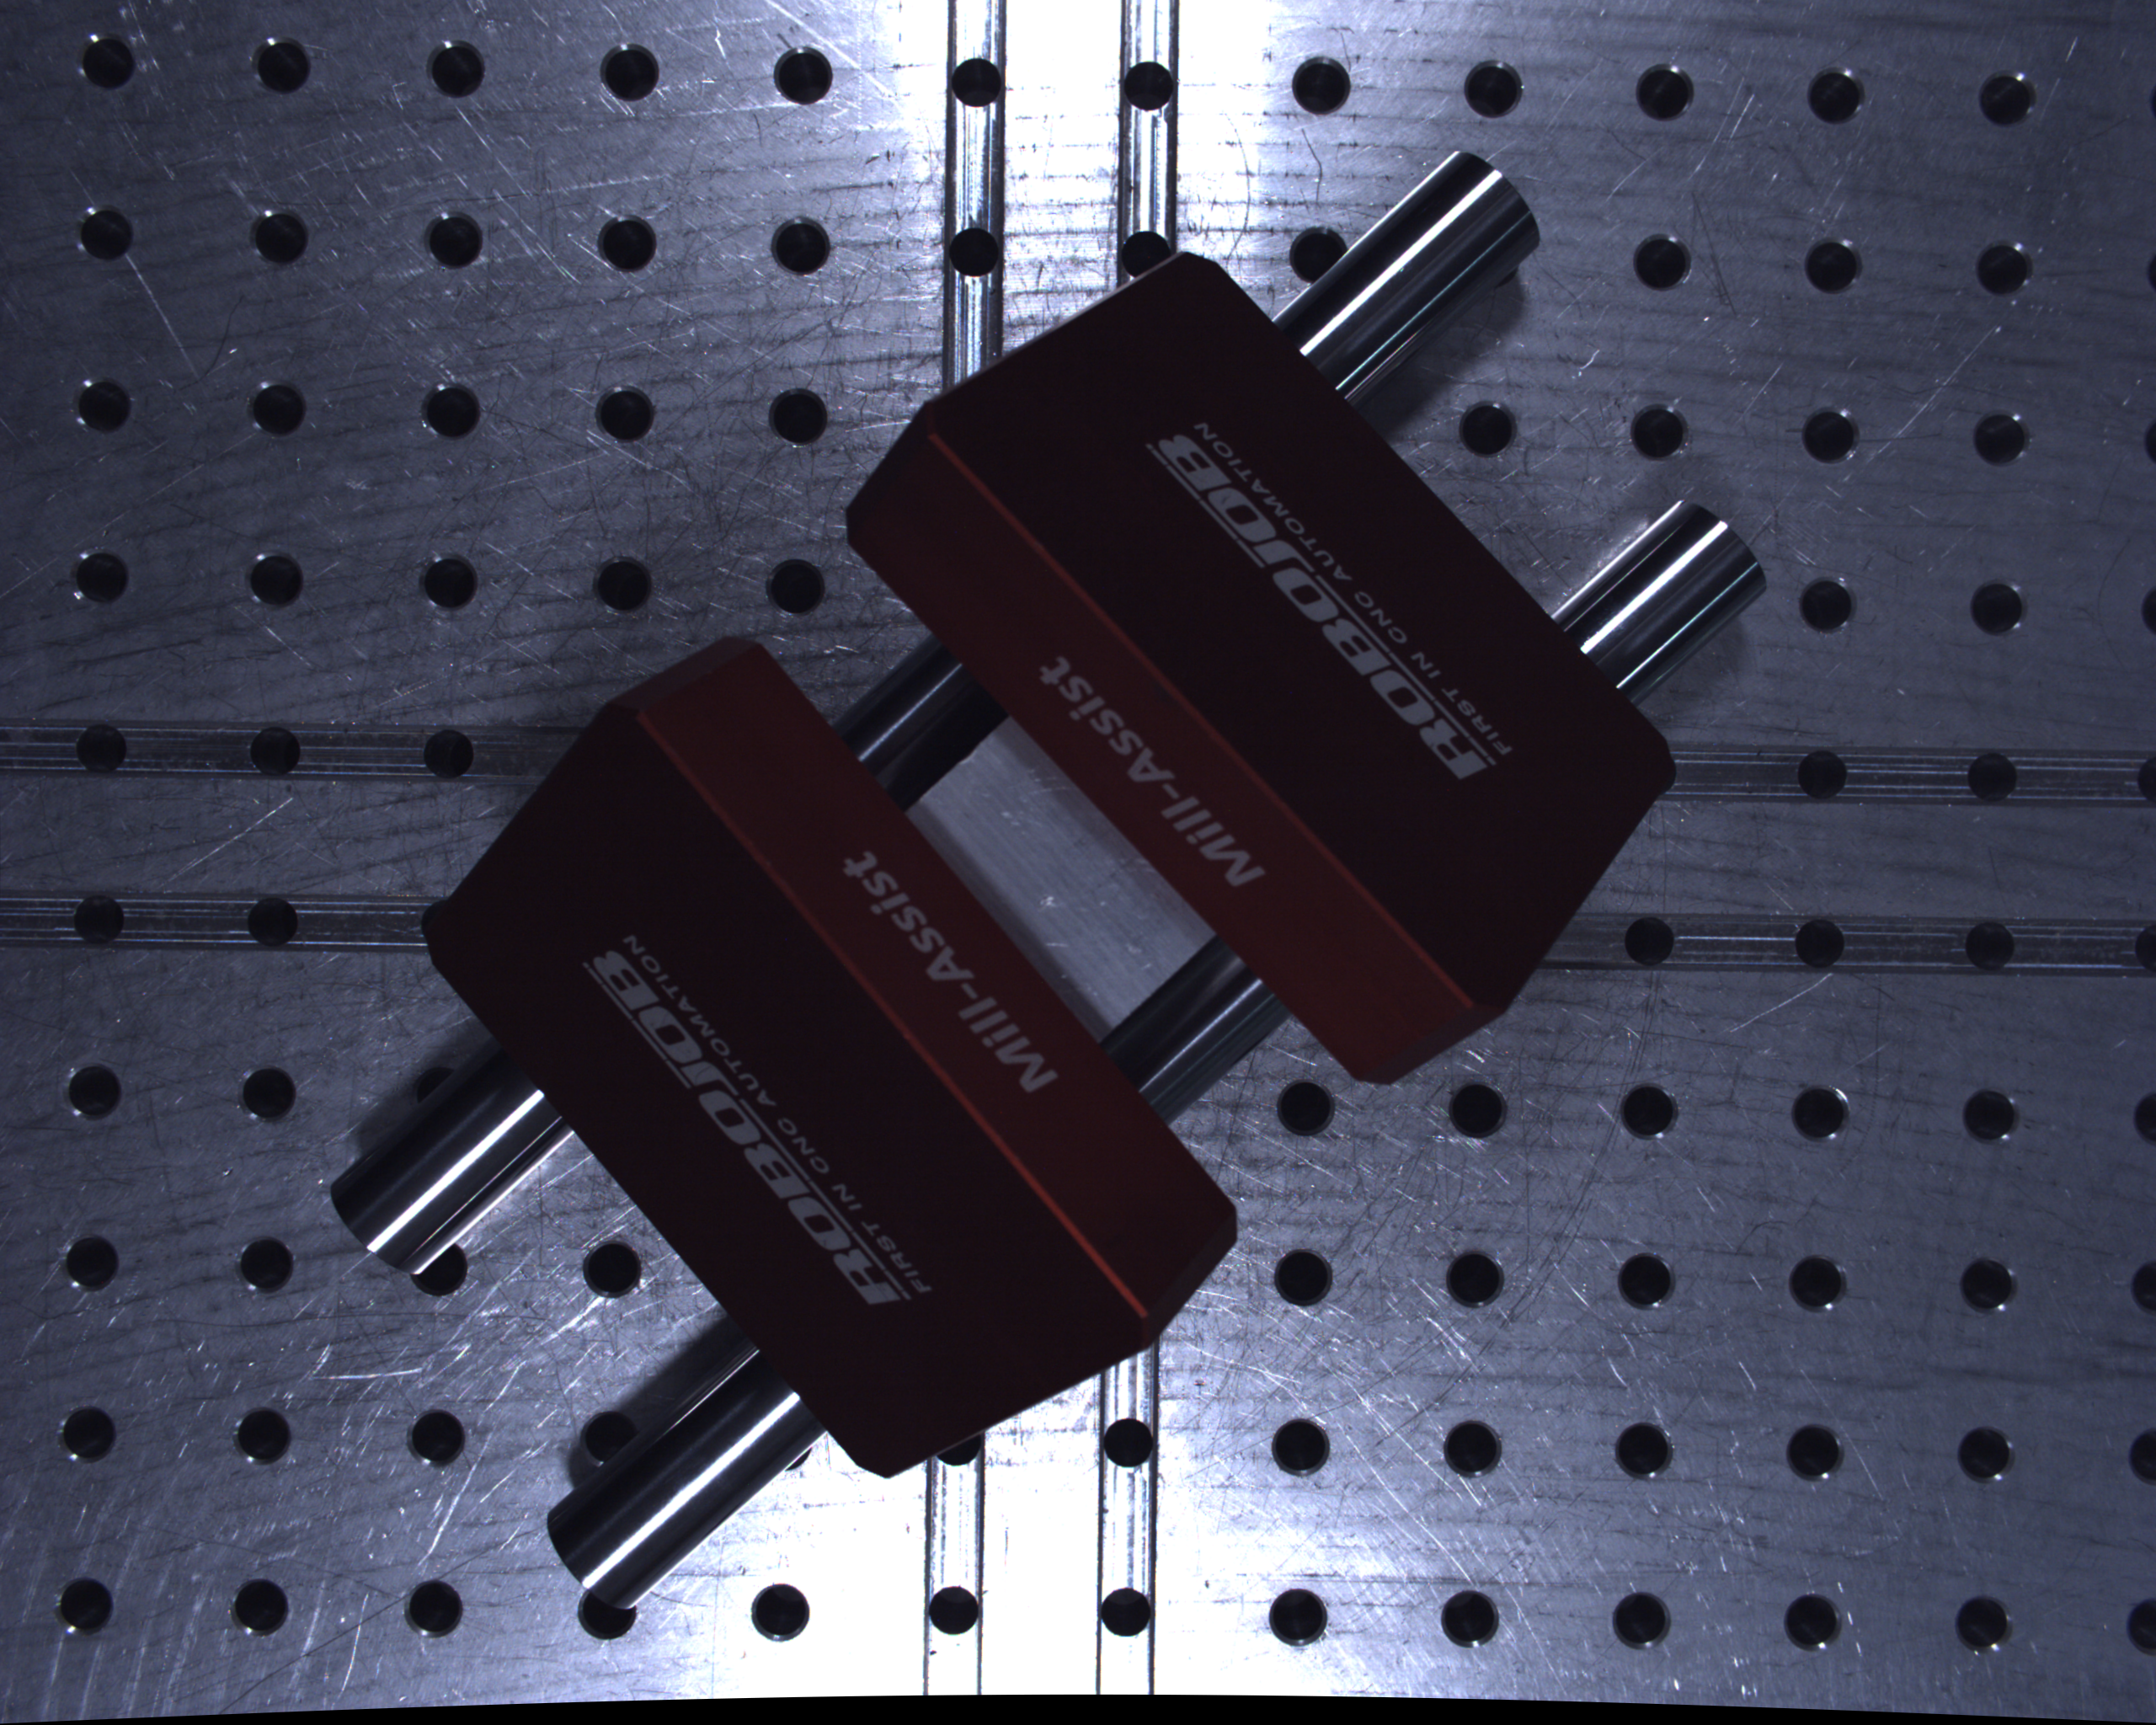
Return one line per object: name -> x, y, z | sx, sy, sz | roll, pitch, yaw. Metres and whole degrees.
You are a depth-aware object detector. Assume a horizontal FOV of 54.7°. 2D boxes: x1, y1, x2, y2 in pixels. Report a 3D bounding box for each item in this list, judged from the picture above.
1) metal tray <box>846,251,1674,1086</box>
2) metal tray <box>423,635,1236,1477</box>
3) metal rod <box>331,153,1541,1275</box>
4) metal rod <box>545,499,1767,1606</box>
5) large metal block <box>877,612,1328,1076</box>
metal tray -> 0.035, -0.037, 0.359 | 0.130, 0.030, 0.090 | 47, 46, 0
metal tray -> -0.046, 0.037, 0.359 | 0.130, 0.030, 0.090 | 50, 133, -1
metal rod -> -0.027, -0.030, 0.413 | 0.300, 0.025, 0.025 | -43, 91, -1
metal rod -> 0.016, 0.037, 0.414 | 0.300, 0.025, 0.025 | -42, 91, -1
large metal block -> 0.001, -0.002, 0.385 | 0.080, 0.080, 0.050 | -42, 91, 0
